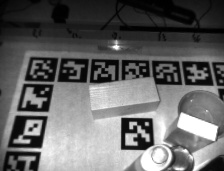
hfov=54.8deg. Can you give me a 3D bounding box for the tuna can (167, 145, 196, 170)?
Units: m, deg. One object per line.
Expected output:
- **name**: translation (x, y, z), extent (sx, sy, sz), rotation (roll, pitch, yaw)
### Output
- **tuna can**: translation (0.192, 0.218, 0.617), extent (0.086, 0.034, 0.085), rotation (0, 66, 0)

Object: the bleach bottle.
- **bleach bottle**: translation (0.090, 0.190, 0.512), extent (0.103, 0.252, 0.067), rotation (-24, 63, -11)

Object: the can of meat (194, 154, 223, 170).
- **can of meat**: translation (0.276, 0.232, 0.591), extent (0.102, 0.084, 0.057), rotation (-27, 62, -15)

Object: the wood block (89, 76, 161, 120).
- **wood block**: translation (0.036, 0.040, 0.682), extent (0.207, 0.090, 0.090), rotation (-8, 67, -6)

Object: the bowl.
- **bowl**: translation (0.295, 0.087, 0.677), extent (0.161, 0.055, 0.161), rotation (-1, 62, 3)

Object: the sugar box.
- **sugar box**: translation (0.213, 0.130, 0.583), extent (0.092, 0.177, 0.045), rotation (17, 66, 13)
